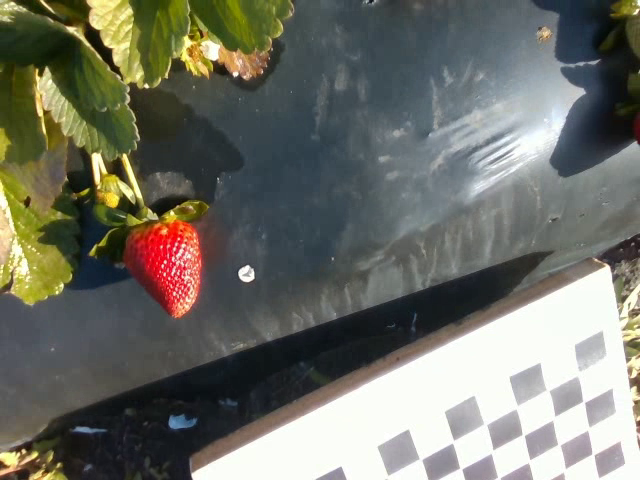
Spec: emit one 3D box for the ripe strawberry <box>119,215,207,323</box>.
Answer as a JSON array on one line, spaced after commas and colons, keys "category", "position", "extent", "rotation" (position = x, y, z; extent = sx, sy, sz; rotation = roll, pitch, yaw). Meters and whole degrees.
[{"category": "ripe strawberry", "position": [-0.074, 0.014, 0.300], "extent": [0.045, 0.055, 0.042], "rotation": [-18, -11, -16]}]
